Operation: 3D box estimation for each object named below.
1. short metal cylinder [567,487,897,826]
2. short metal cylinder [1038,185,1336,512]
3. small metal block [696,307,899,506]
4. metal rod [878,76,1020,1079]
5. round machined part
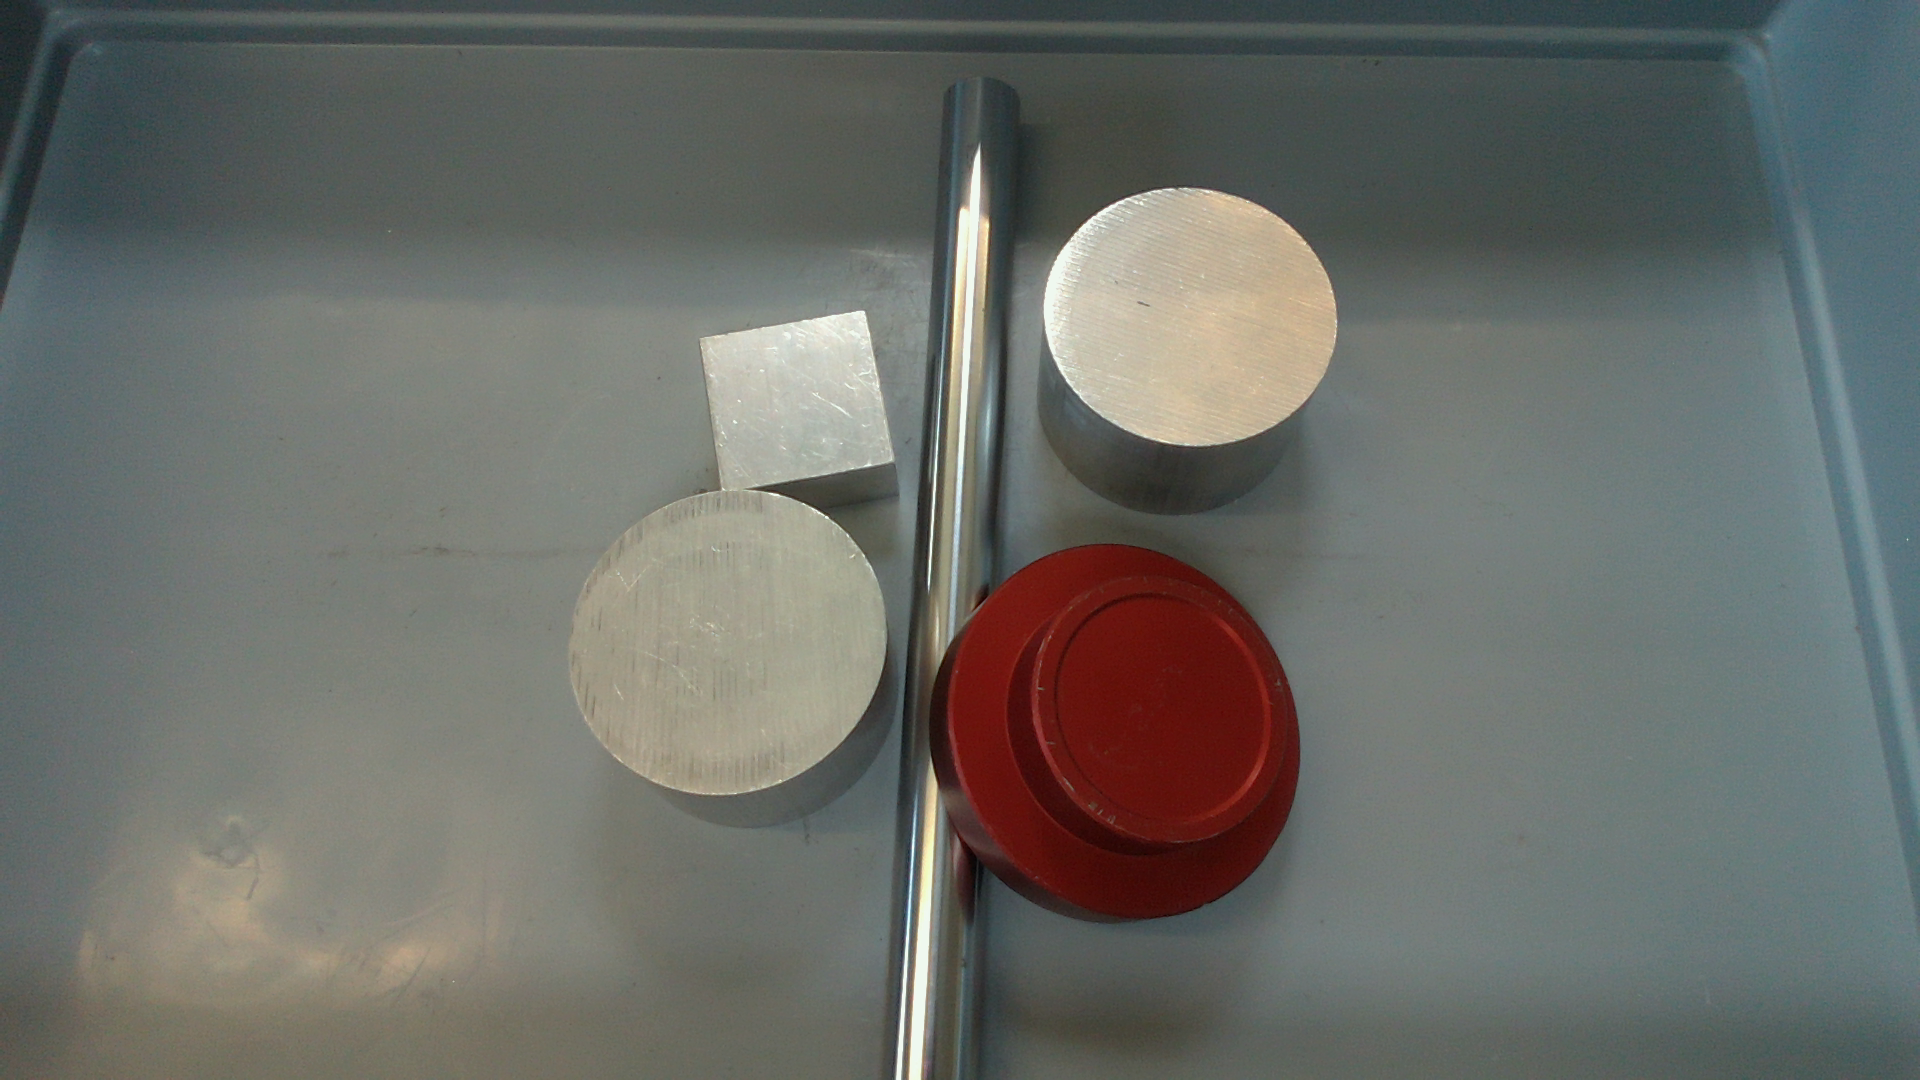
[{"bbox_3d":[-0.058,0.032,0.367,0.080,0.050,0.080,0,70,0],"label":"short metal cylinder"},{"bbox_3d":[0.063,-0.054,0.399,0.080,0.050,0.080,0,70,0],"label":"short metal cylinder"},{"bbox_3d":[-0.048,-0.037,0.406,0.050,0.025,0.050,-10,70,-4],"label":"small metal block"},{"bbox_3d":[-0.001,-0.001,0.393,0.025,0.025,0.300,3,70,1],"label":"metal rod"},{"bbox_3d":[0.044,0.047,0.354,0.098,0.042,0.098,6,69,-15],"label":"round machined part"}]
